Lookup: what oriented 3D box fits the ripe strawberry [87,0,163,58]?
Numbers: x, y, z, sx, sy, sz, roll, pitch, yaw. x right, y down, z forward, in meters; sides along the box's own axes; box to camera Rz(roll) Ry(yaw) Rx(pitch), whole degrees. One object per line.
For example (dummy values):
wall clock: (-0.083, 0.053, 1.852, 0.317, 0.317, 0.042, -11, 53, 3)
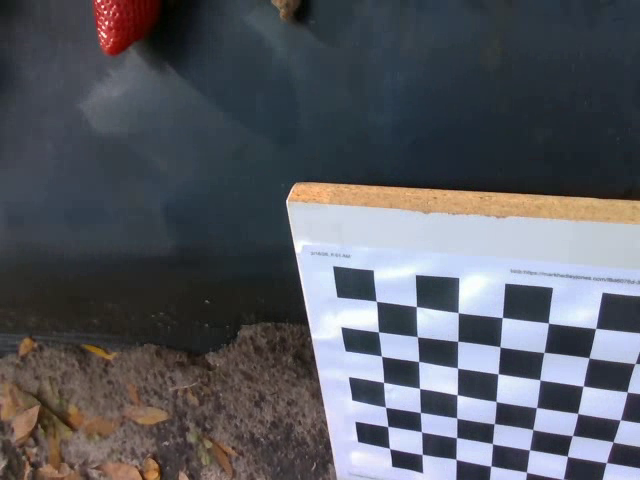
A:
ripe strawberry: (-0.106, -0.118, 0.338, 0.045, 0.058, 0.050, 7, -9, 15)
